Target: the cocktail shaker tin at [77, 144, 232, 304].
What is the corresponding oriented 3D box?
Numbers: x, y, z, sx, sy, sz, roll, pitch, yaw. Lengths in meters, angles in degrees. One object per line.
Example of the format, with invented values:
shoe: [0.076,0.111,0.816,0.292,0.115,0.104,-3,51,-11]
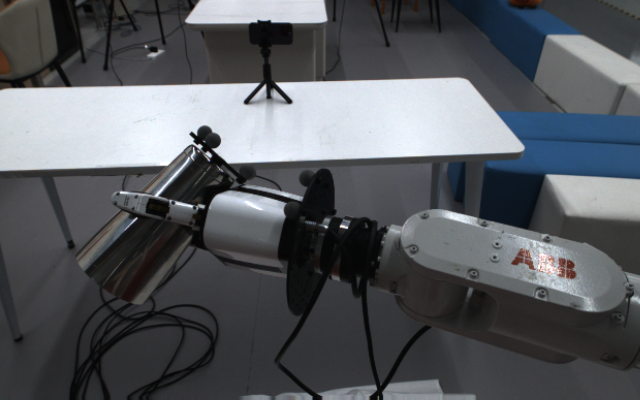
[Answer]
cocktail shaker tin: [-0.175,0.021,0.547,0.170,0.093,0.093,-48,49,-3]
